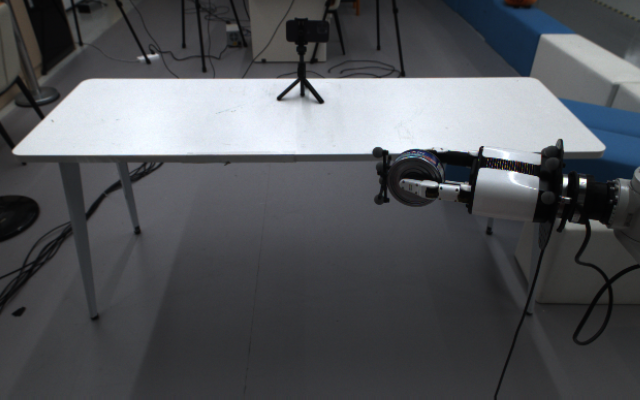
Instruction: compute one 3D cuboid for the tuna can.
[{"bbox_3d":[0.150,-0.033,0.744,0.085,0.085,0.034,12,27,15],"label":"tuna can"}]
